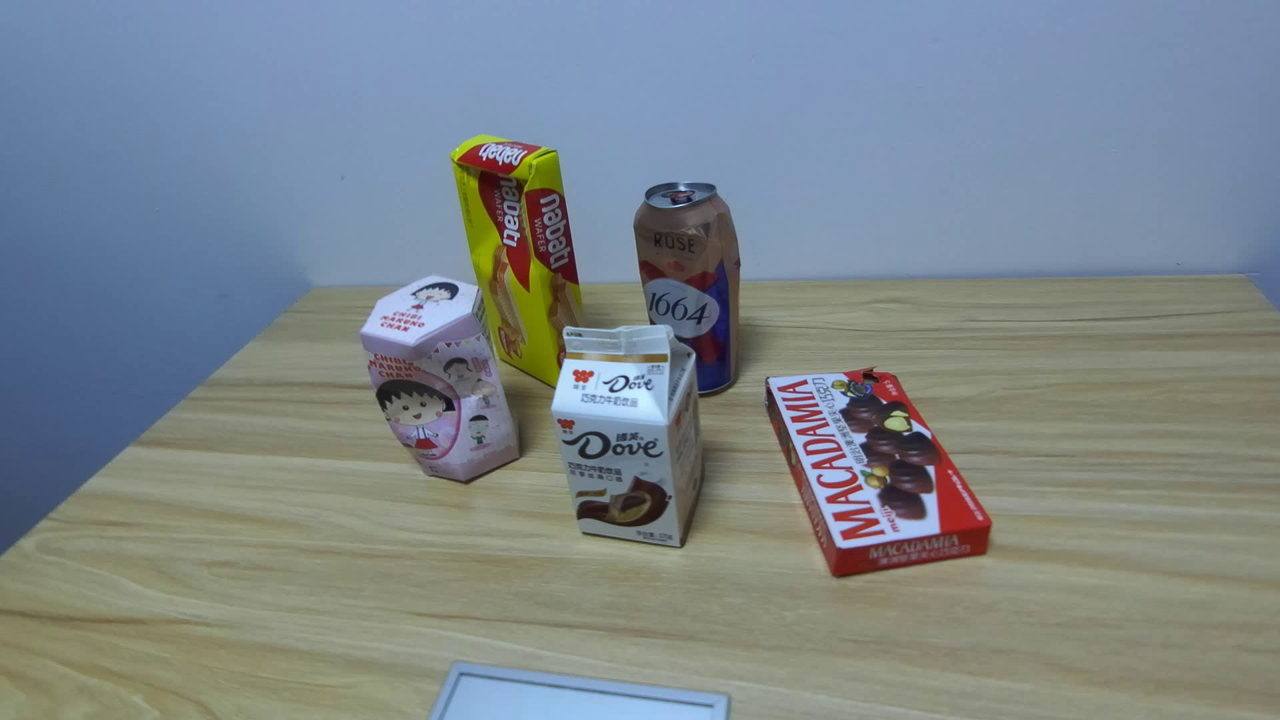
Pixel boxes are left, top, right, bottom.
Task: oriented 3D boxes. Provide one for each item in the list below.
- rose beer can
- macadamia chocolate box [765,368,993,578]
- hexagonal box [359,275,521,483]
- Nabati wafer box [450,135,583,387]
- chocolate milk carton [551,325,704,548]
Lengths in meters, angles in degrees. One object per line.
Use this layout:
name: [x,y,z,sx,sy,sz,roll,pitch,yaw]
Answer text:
rose beer can: [0.041,-0.055,0.556,0.065,0.167,0.075,-32,39,-33]
macadamia chocolate box: [0.153,0.062,0.487,0.103,0.027,0.186,-8,34,-2]
hexagonal box: [-0.147,0.016,0.532,0.089,0.135,0.093,-13,35,-6]
Nabati wafer box: [-0.098,-0.077,0.591,0.096,0.204,0.042,24,44,37]
chocolate milk carton: [-0.005,0.039,0.448,0.075,0.148,0.074,5,37,17]
